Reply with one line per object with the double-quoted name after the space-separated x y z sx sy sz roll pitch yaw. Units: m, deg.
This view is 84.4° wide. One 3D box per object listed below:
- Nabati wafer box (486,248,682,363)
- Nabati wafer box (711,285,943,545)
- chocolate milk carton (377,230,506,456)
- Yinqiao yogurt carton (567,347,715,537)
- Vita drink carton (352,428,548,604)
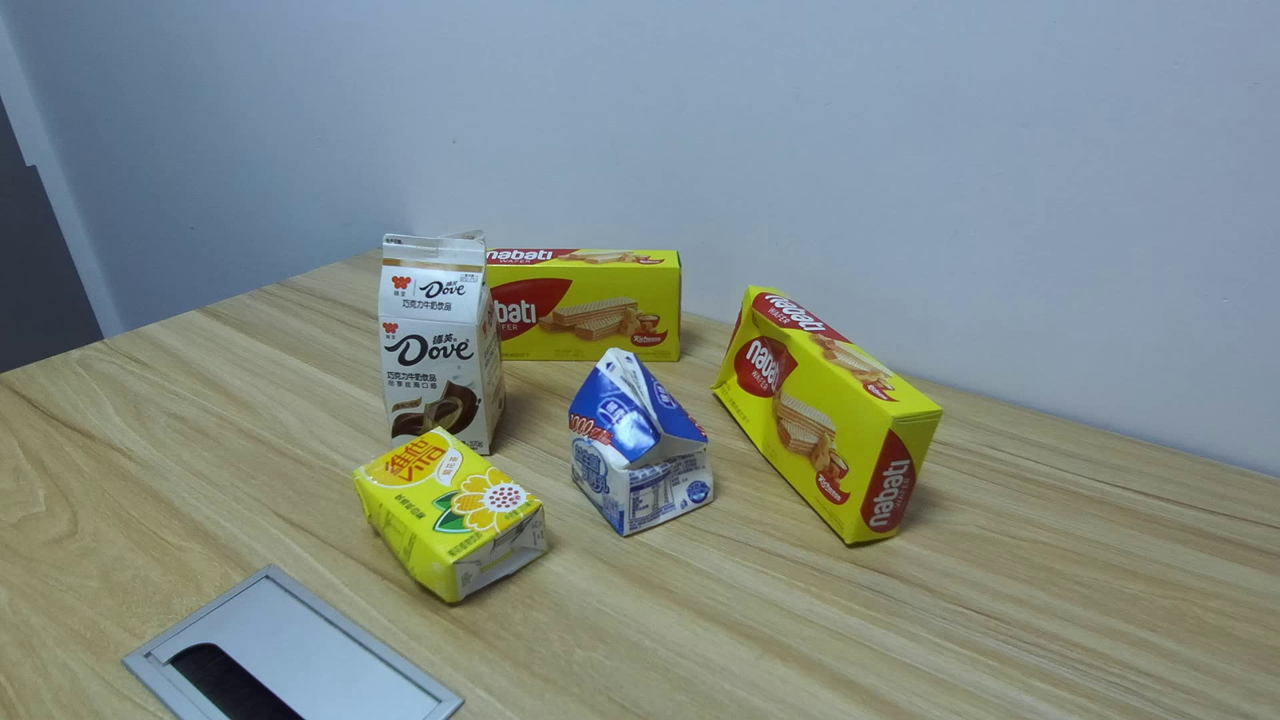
-0.063 -0.048 0.634 0.203 0.093 0.042 1 28 5 "Nabati wafer box"
0.115 0.027 0.496 0.042 0.096 0.202 -1 28 -23 "Nabati wafer box"
-0.145 -0.015 0.507 0.084 0.155 0.073 0 30 0 "chocolate milk carton"
-0.001 0.046 0.460 0.077 0.093 0.083 -16 33 -27 "Yinqiao yogurt carton"
-0.119 0.094 0.427 0.108 0.043 0.077 27 42 36 "Vita drink carton"
